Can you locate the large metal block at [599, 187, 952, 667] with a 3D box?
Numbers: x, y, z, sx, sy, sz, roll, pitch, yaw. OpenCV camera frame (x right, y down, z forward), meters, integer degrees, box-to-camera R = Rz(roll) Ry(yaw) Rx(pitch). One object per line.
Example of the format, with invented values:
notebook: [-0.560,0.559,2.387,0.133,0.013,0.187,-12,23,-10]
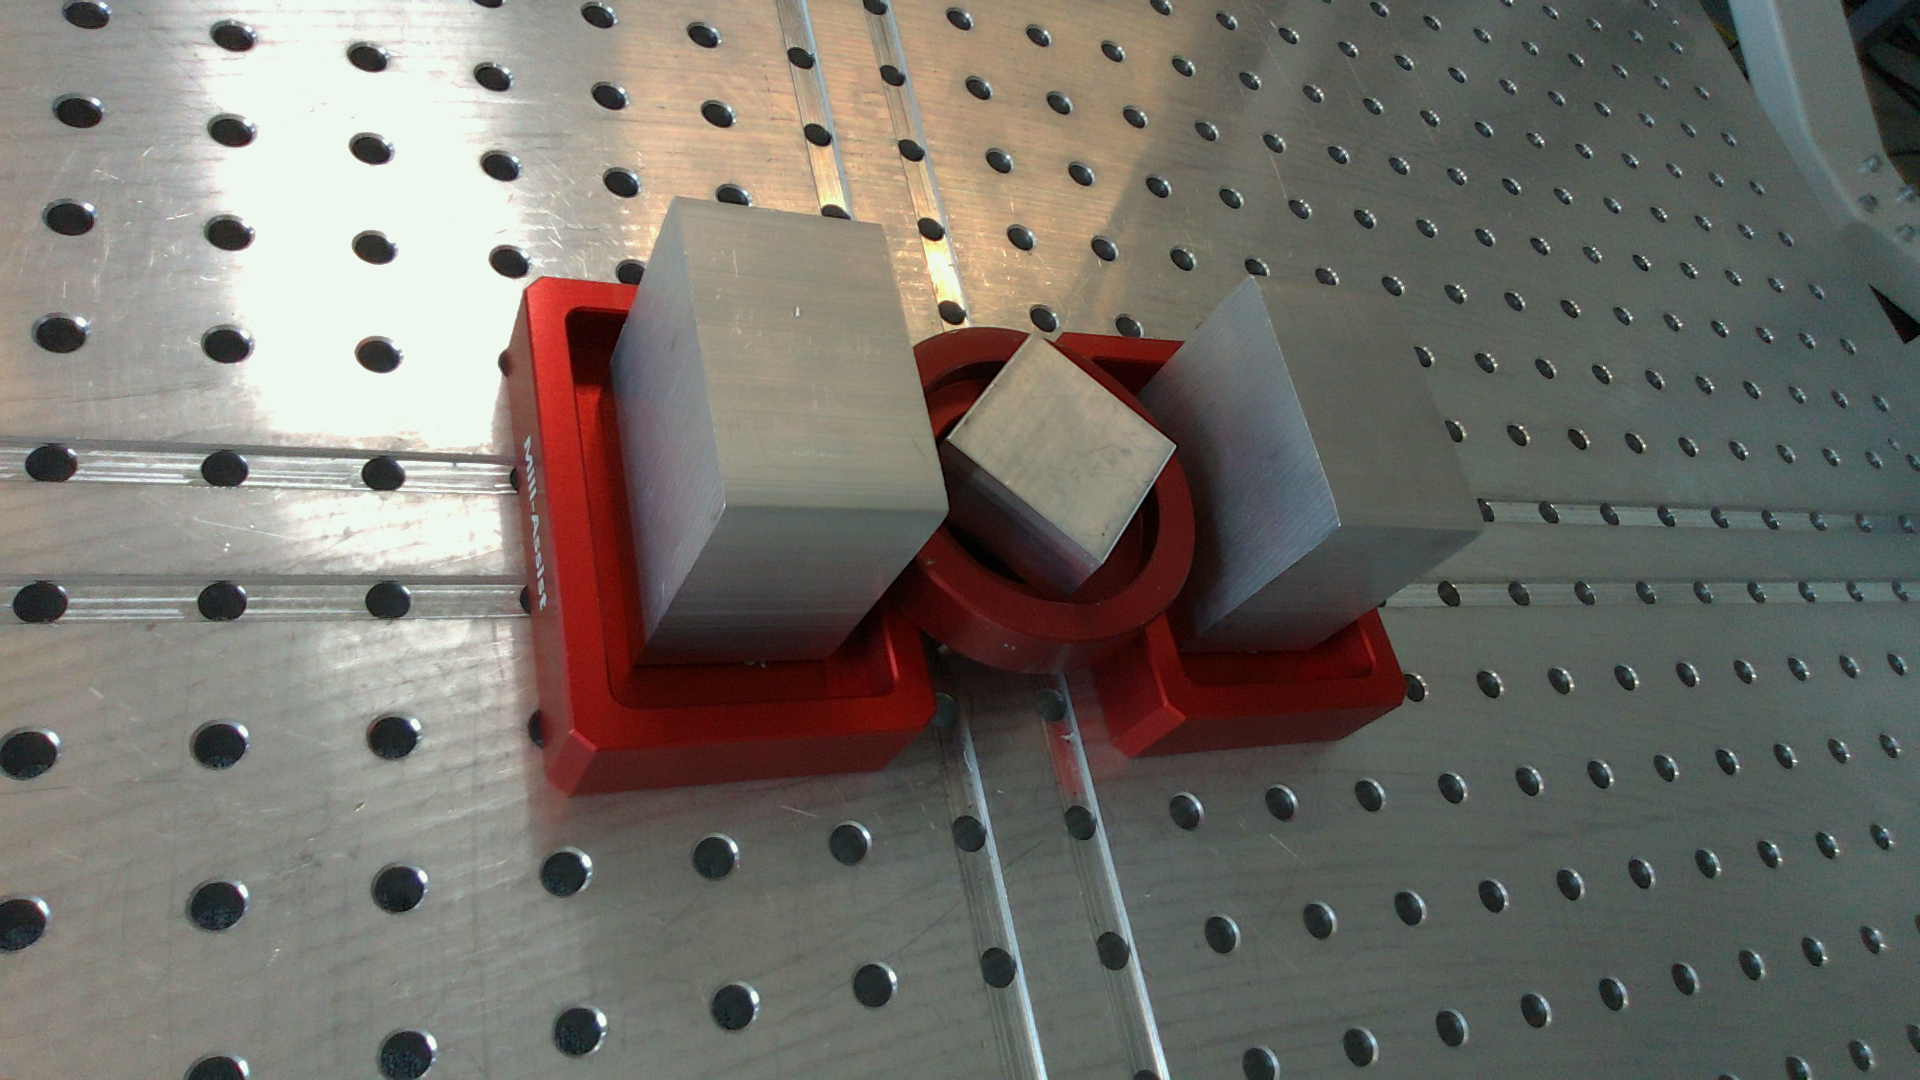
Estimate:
large metal block: [-0.049,-0.023,0.328,0.050,0.080,0.080,1,61,-28]

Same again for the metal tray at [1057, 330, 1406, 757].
metal tray: [0.076,-0.002,0.430,0.090,0.030,0.130,0,61,-28]

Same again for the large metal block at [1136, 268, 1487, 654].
large metal block: [0.094,-0.020,0.402,0.050,0.080,0.080,1,61,-27]

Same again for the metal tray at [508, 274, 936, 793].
metal tray: [-0.064,-0.004,0.356,0.090,0.030,0.130,1,61,-28]

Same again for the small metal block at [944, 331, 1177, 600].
small metal block: [0.022,-0.019,0.364,0.050,0.025,0.050,38,51,-2]

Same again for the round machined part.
round machined part: [0.012,-0.007,0.381,0.098,0.042,0.098,14,56,-21]
